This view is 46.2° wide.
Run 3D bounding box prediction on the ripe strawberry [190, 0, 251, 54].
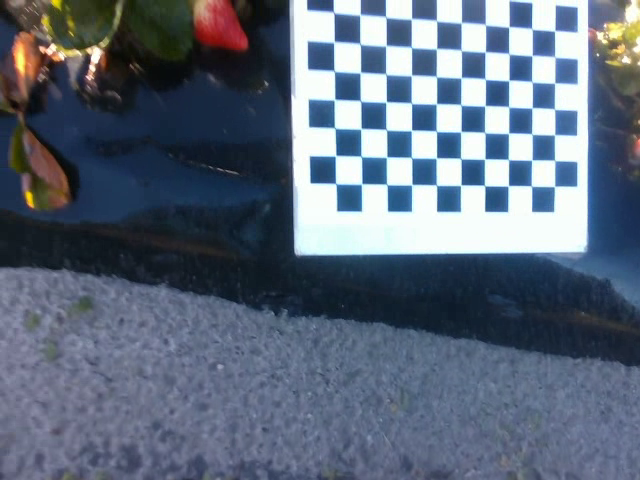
[{"bbox_3d":[-0.084,-0.193,0.708,0.065,0.040,0.040,41,-13,-11],"label":"ripe strawberry"}]
